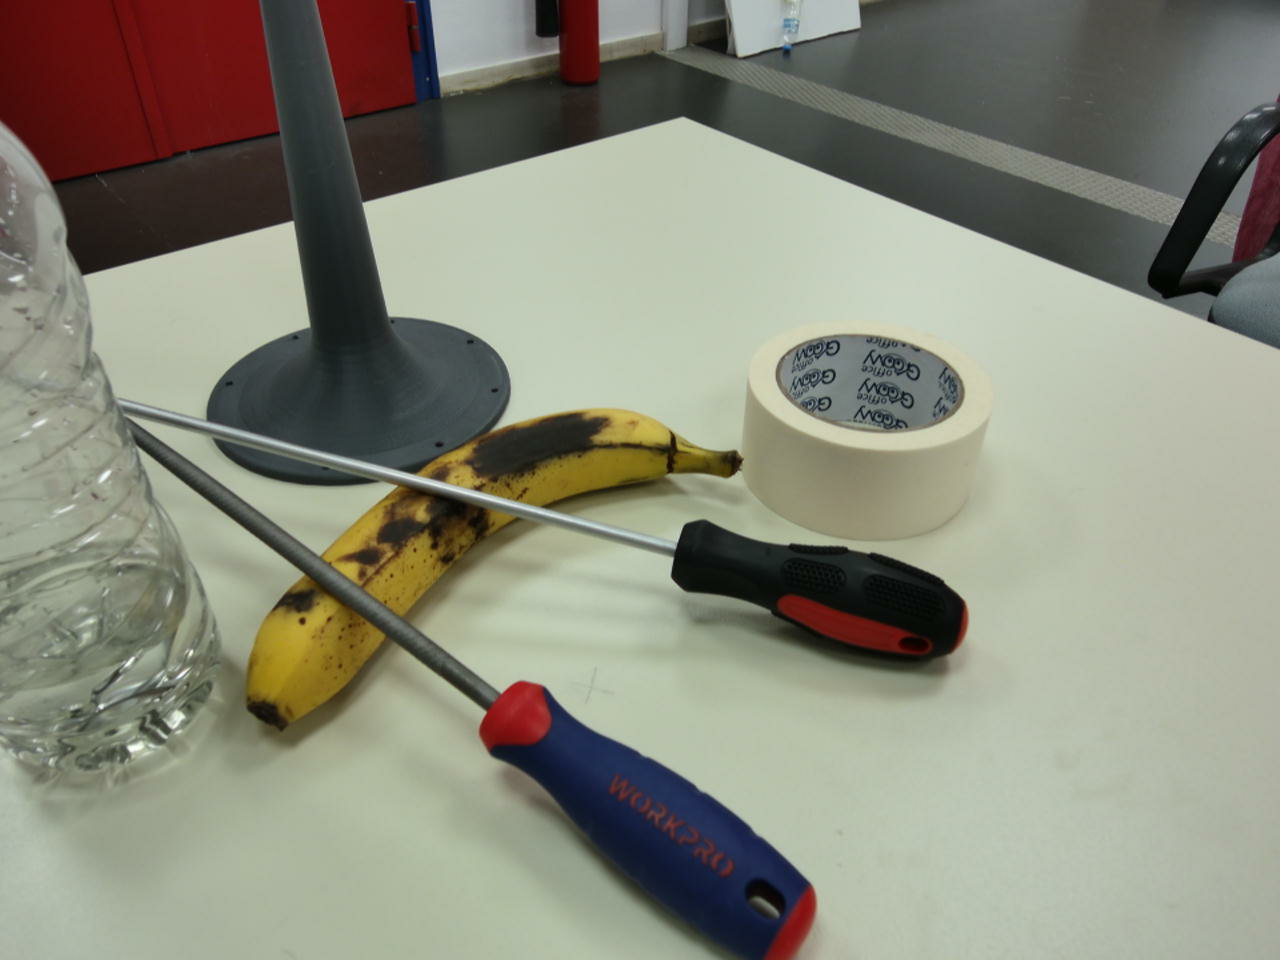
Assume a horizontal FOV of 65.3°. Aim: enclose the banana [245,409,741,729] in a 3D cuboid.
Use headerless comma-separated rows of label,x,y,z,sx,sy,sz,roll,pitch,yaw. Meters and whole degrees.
banana,-0.064,0.016,0.403,0.222,0.037,0.084,-26,44,-31
